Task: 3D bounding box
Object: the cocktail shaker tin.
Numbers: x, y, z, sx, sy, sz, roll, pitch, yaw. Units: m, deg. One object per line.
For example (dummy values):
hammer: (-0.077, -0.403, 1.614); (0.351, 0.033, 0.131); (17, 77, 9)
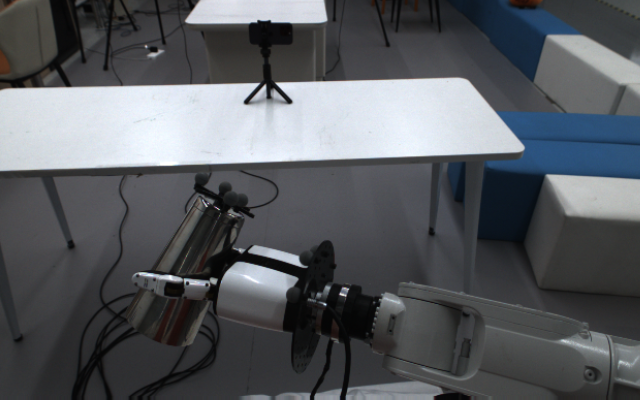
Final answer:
cocktail shaker tin: (-0.160, 0.081, 0.606); (0.093, 0.170, 0.093); (27, 2, -1)
